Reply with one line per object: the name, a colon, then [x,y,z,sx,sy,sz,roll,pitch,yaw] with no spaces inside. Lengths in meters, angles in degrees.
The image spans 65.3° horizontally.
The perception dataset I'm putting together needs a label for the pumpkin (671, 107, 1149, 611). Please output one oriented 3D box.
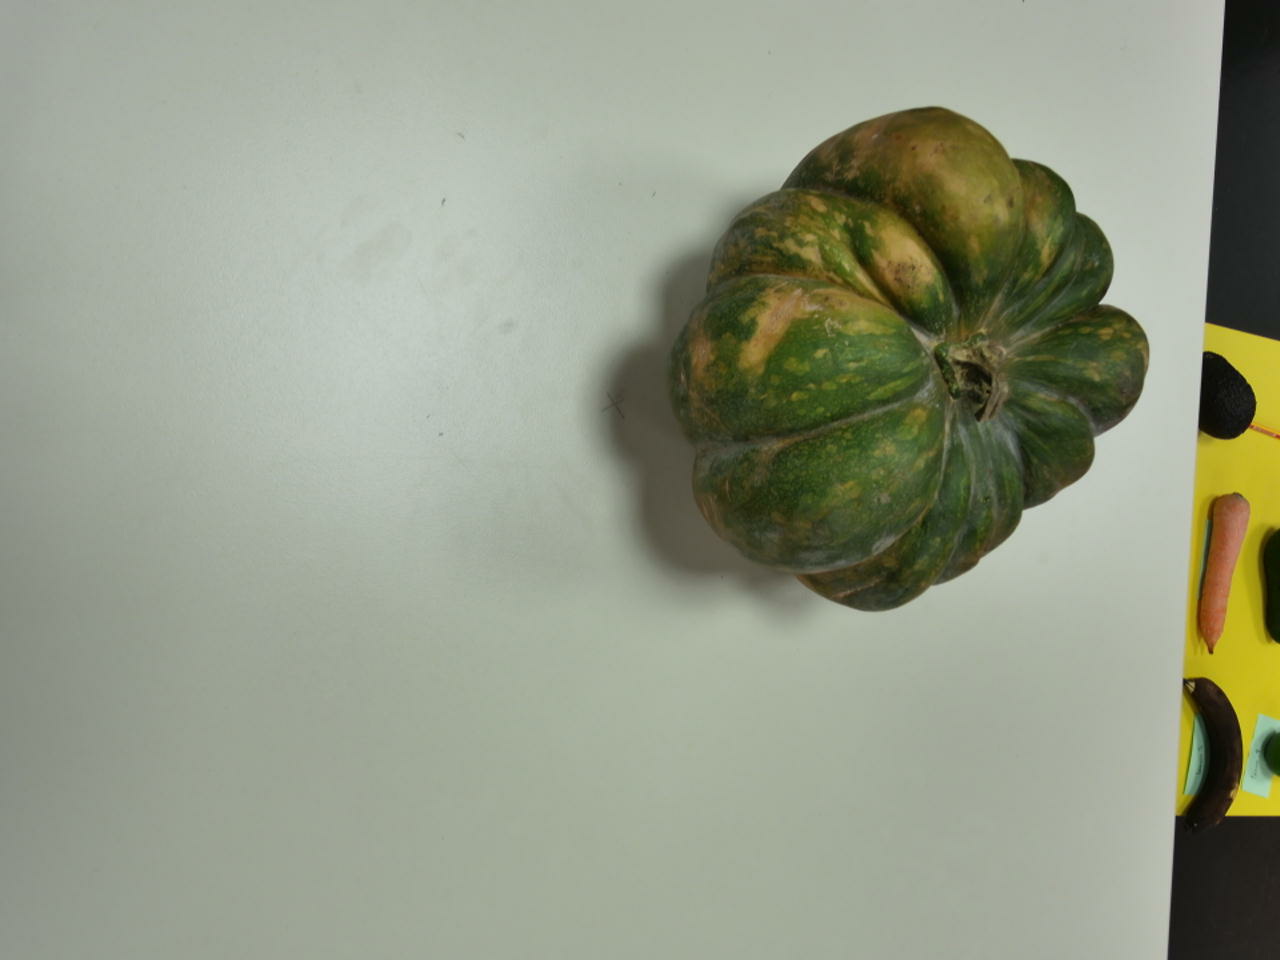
pumpkin: [0.141,-0.059,0.536,0.237,0.173,0.270,44,75,-17]
